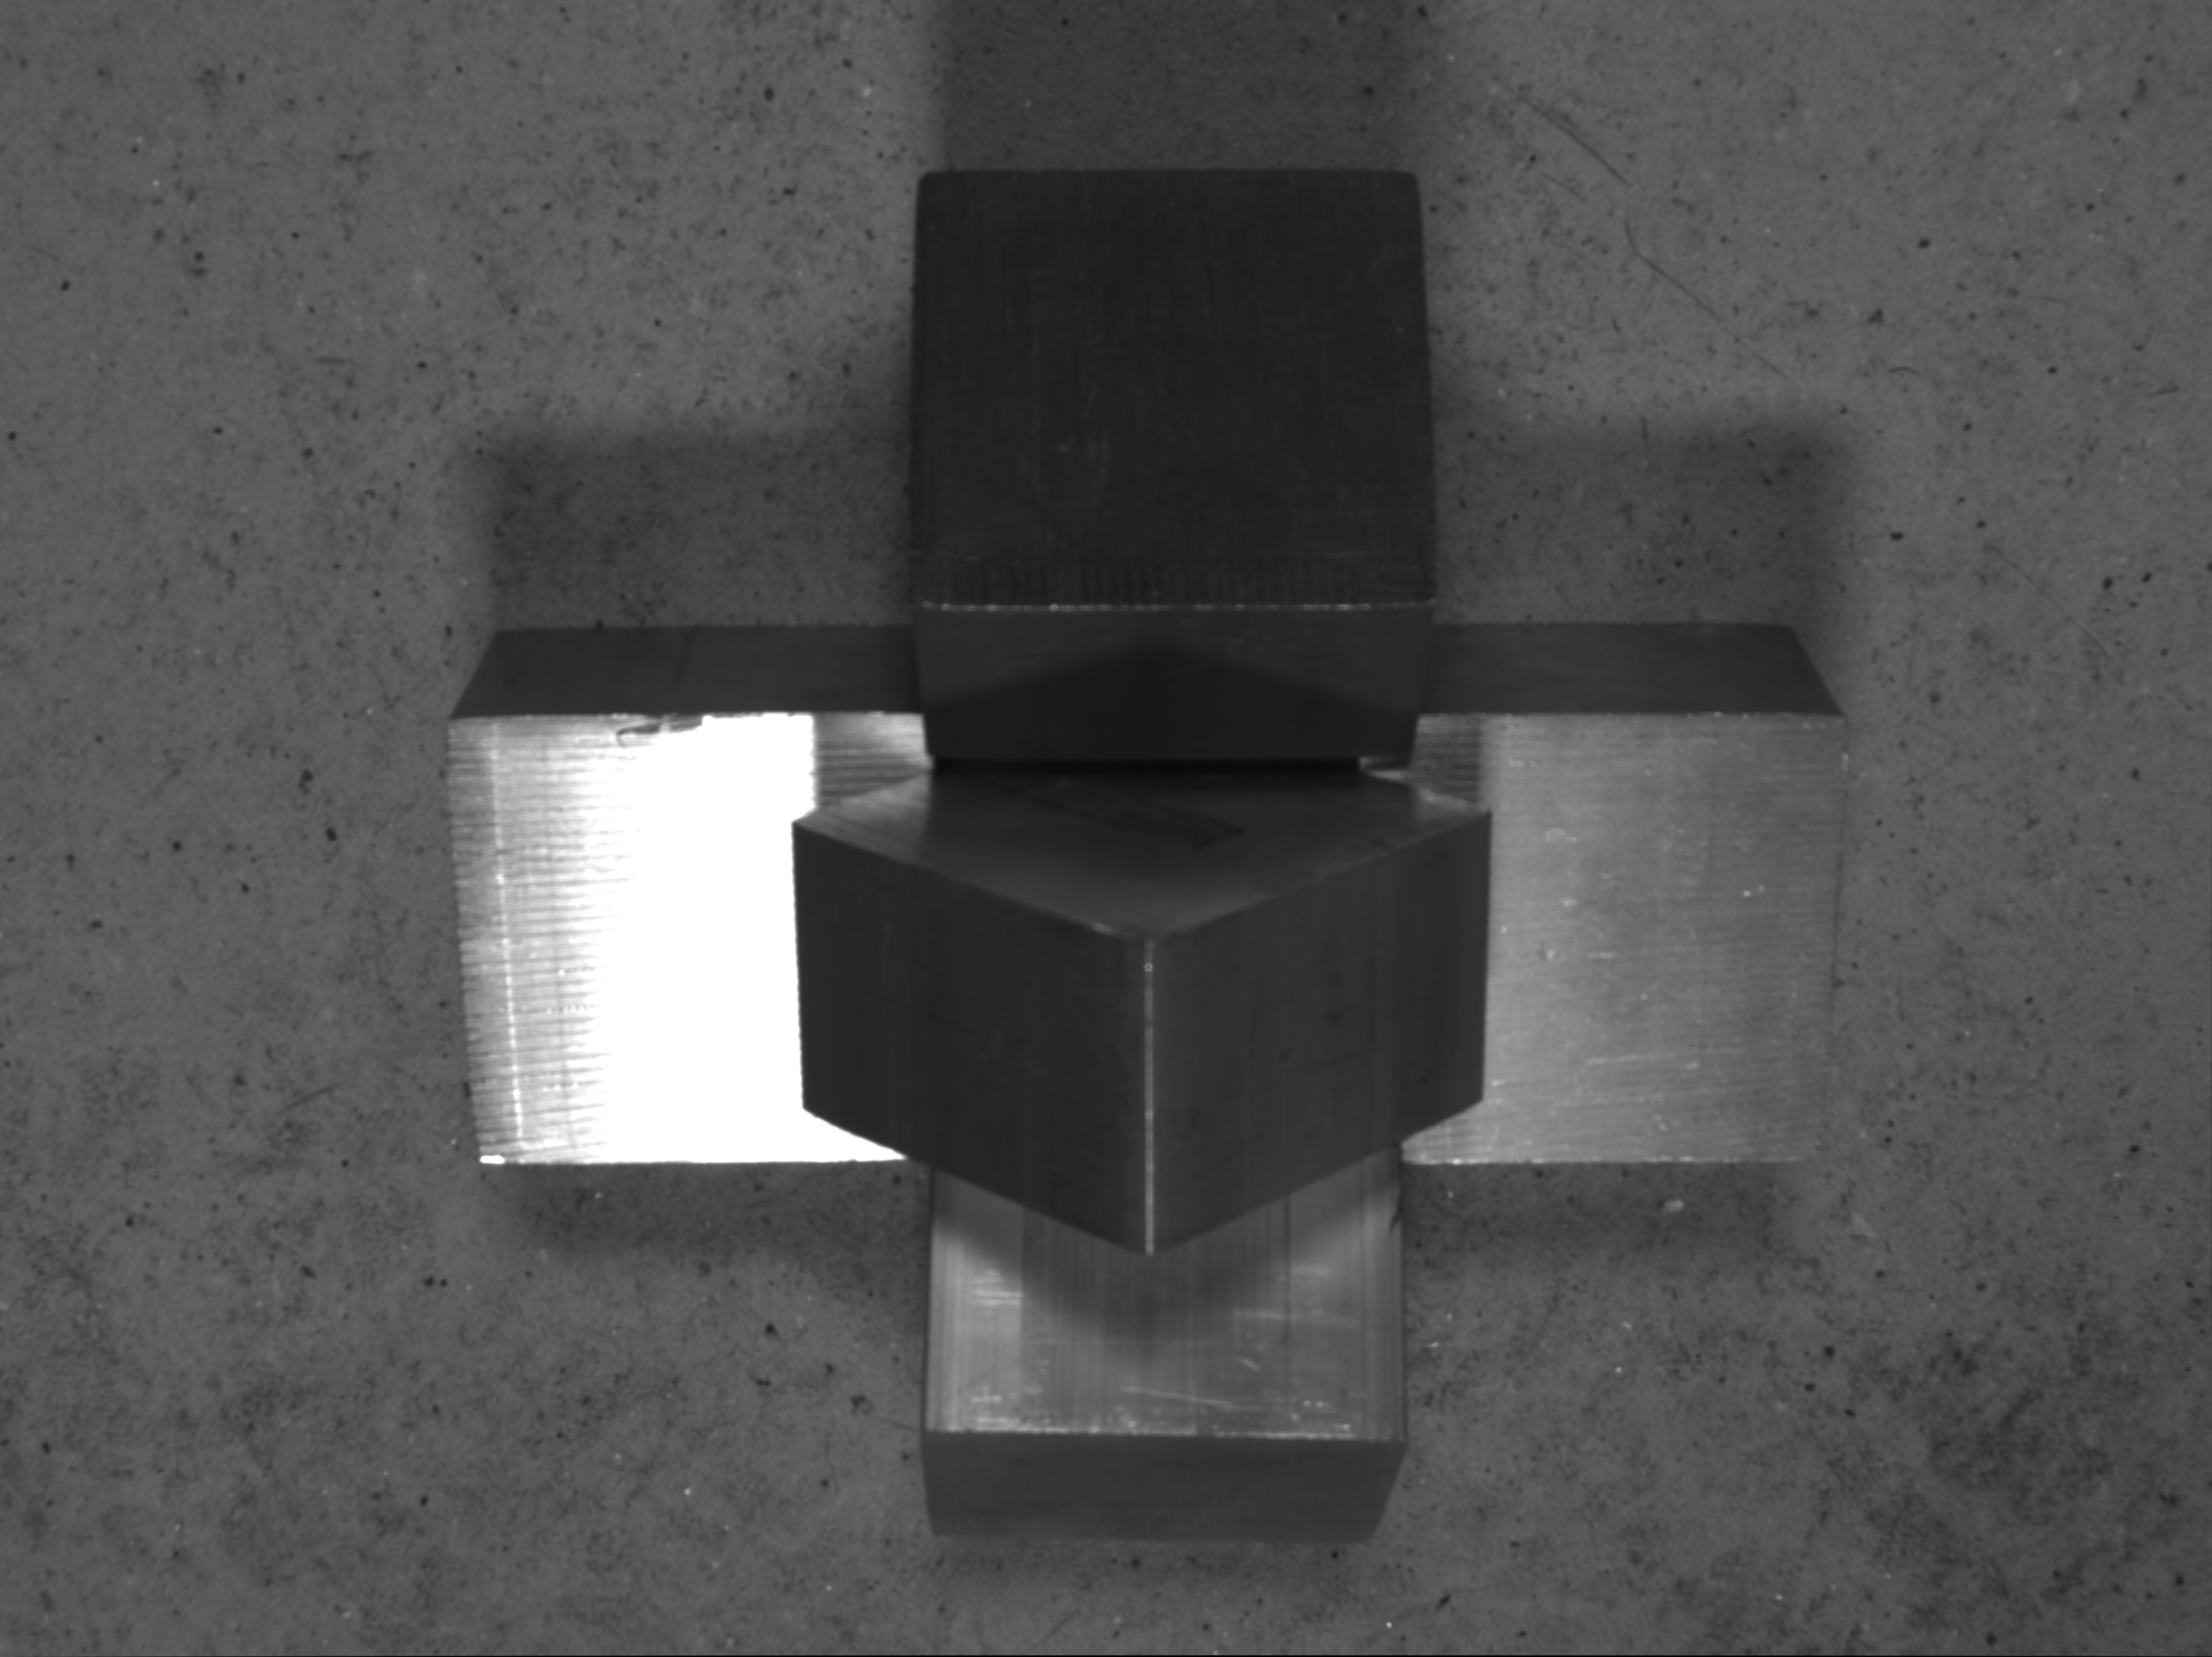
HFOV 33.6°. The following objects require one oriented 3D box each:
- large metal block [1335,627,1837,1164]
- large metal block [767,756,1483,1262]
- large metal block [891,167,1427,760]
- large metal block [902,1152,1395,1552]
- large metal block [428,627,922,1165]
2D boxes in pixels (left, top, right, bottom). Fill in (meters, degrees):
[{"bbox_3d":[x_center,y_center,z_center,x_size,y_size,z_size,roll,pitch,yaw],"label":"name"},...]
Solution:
[{"bbox_3d":[0.078,0.011,0.632,0.080,0.050,0.080,0,110,-1],"label":"large metal block"},{"bbox_3d":[0.003,0.021,0.587,0.080,0.080,0.050,18,117,41],"label":"large metal block"},{"bbox_3d":[0.008,-0.058,0.587,0.080,0.080,0.050,0,154,0],"label":"large metal block"},{"bbox_3d":[0.007,0.092,0.641,0.080,0.080,0.050,2,67,0],"label":"large metal block"},{"bbox_3d":[-0.070,0.011,0.633,0.080,0.050,0.080,0,110,0],"label":"large metal block"}]
